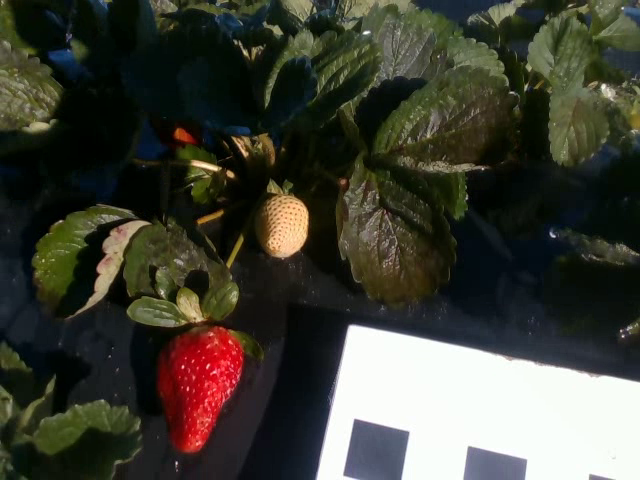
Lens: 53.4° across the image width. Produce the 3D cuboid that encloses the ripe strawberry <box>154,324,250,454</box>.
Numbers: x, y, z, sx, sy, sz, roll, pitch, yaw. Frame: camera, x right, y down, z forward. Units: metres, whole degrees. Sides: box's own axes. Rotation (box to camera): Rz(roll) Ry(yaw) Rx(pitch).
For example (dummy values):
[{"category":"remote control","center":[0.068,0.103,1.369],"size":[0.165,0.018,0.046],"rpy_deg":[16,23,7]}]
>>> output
[{"category":"ripe strawberry","center":[-0.057,0.069,0.291],"size":[0.048,0.069,0.040],"rpy_deg":[-8,-29,5]}]
